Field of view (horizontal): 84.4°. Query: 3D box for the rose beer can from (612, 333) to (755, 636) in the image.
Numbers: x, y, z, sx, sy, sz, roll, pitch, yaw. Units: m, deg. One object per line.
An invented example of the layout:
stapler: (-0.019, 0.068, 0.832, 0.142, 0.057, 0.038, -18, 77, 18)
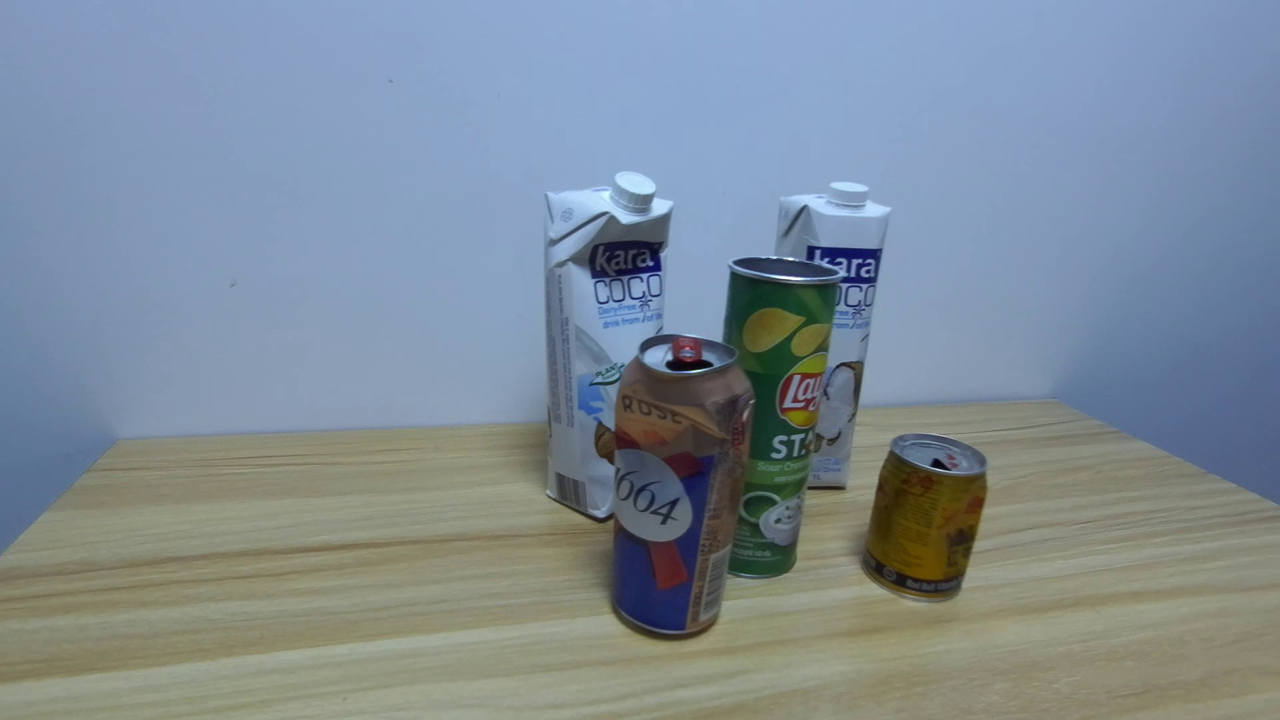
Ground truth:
rose beer can: (0.019, 0.073, 0.401, 0.065, 0.167, 0.075, -10, 26, -33)

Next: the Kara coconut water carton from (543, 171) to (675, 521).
Kara coconut water carton: (-0.023, -0.012, 0.521, 0.071, 0.244, 0.100, 16, 25, 38)

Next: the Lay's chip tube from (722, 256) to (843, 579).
Lay's chip tube: (0.082, 0.036, 0.461, 0.071, 0.202, 0.071, 4, 19, -1)

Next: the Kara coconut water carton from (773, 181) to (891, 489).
Kara coconut water carton: (0.144, -0.018, 0.574, 0.077, 0.245, 0.075, 1, 17, -8)
